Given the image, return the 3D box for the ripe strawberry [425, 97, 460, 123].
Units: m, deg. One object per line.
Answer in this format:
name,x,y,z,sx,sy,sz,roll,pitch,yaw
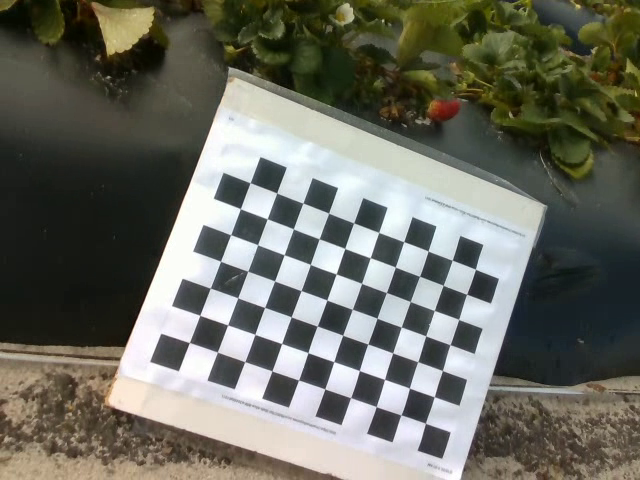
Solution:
ripe strawberry,0.086,-0.095,0.427,0.027,0.022,0.021,-6,7,-1
